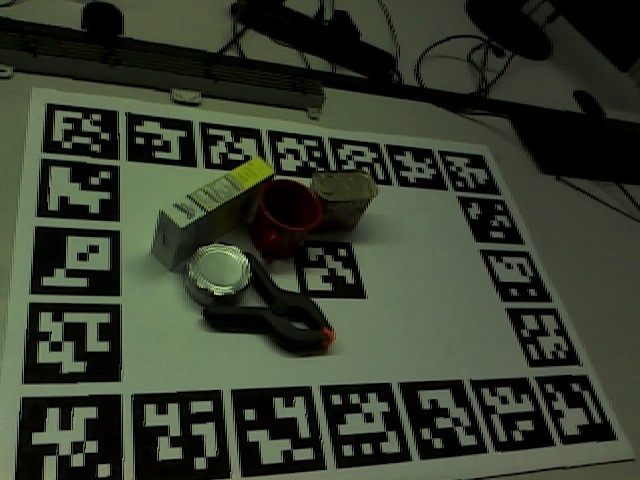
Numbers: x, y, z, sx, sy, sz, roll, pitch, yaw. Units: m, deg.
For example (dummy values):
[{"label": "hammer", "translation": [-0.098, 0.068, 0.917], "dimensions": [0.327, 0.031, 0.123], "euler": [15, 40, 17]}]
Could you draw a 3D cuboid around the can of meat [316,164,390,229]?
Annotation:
[{"label": "can of meat", "translation": [0.038, -0.063, 0.906], "dimensions": [0.101, 0.084, 0.058], "euler": [-4, 53, -28]}]

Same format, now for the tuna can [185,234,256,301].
[{"label": "tuna can", "translation": [-0.126, 0.036, 0.777], "dimensions": [0.085, 0.034, 0.086], "euler": [12, 50, -15]}]

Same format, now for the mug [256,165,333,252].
[{"label": "mug", "translation": [-0.042, -0.032, 0.835], "dimensions": [0.093, 0.081, 0.117], "euler": [23, 48, -5]}]

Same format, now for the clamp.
[{"label": "clamp", "translation": [-0.045, 0.087, 0.776], "dimensions": [0.165, 0.036, 0.122], "euler": [33, 42, -1]}]

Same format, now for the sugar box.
[{"label": "sugar box", "translation": [-0.132, -0.047, 0.812], "dimensions": [0.045, 0.093, 0.176], "euler": [41, 47, 14]}]
